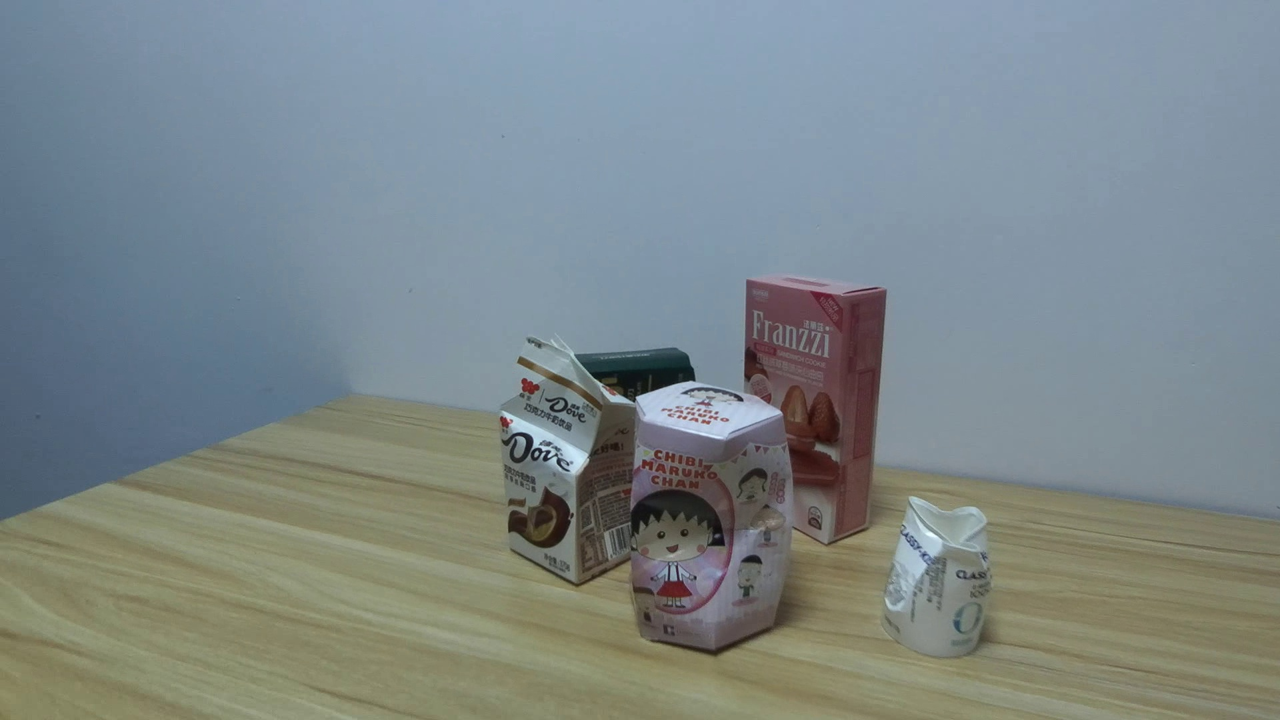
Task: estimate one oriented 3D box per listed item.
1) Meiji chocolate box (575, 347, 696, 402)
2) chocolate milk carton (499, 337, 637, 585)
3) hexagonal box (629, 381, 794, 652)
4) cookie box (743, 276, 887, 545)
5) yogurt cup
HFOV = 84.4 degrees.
[{"bbox_3d":[-0.012,0.050,0.606,0.123,0.116,0.058,-2,18,-8],"label":"Meiji chocolate box"},{"bbox_3d":[-0.043,0.060,0.475,0.076,0.155,0.074,14,22,42],"label":"chocolate milk carton"},{"bbox_3d":[0.033,0.088,0.409,0.089,0.134,0.093,-3,16,-13],"label":"hexagonal box"},{"bbox_3d":[0.124,0.034,0.527,0.048,0.184,0.095,-11,18,-34],"label":"cookie box"},{"bbox_3d":[0.170,0.123,0.400,0.055,0.072,0.055,11,18,28],"label":"yogurt cup"}]
